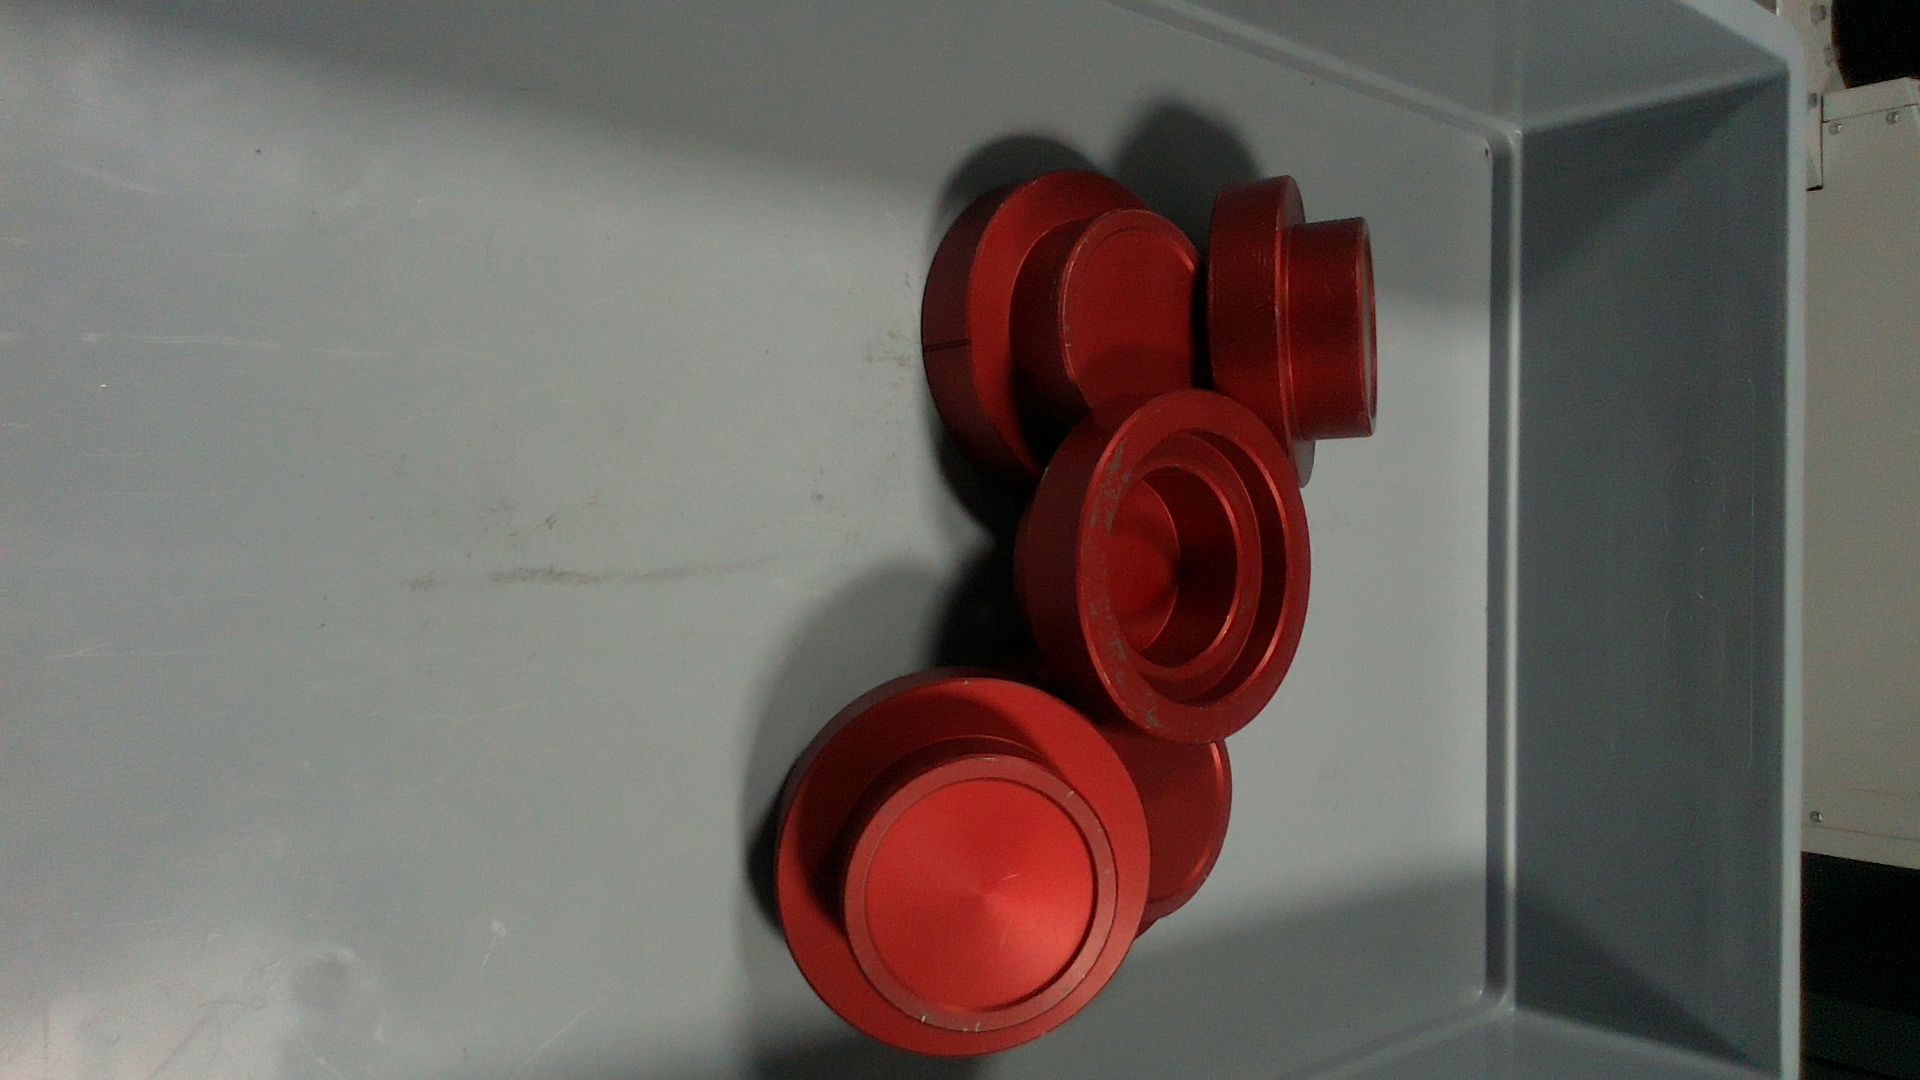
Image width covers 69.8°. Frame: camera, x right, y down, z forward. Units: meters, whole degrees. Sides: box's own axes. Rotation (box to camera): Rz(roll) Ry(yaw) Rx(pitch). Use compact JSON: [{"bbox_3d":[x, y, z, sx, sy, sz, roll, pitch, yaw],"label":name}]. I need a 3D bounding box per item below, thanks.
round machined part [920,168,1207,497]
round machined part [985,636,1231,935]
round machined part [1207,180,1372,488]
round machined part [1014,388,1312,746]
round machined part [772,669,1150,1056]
[{"bbox_3d":[0.039,-0.061,0.408,0.098,0.042,0.098,0,90,-40],"label":"round machined part"},{"bbox_3d":[0.043,0.075,0.412,0.098,0.042,0.098,0,90,-40],"label":"round machined part"},{"bbox_3d":[0.108,-0.065,0.439,0.098,0.042,0.098,-3,90,-70],"label":"round machined part"},{"bbox_3d":[0.054,0.007,0.393,0.098,0.042,0.098,0,90,-40],"label":"round machined part"},{"bbox_3d":[0.002,0.084,0.351,0.098,0.042,0.098,-1,94,-10],"label":"round machined part"}]
